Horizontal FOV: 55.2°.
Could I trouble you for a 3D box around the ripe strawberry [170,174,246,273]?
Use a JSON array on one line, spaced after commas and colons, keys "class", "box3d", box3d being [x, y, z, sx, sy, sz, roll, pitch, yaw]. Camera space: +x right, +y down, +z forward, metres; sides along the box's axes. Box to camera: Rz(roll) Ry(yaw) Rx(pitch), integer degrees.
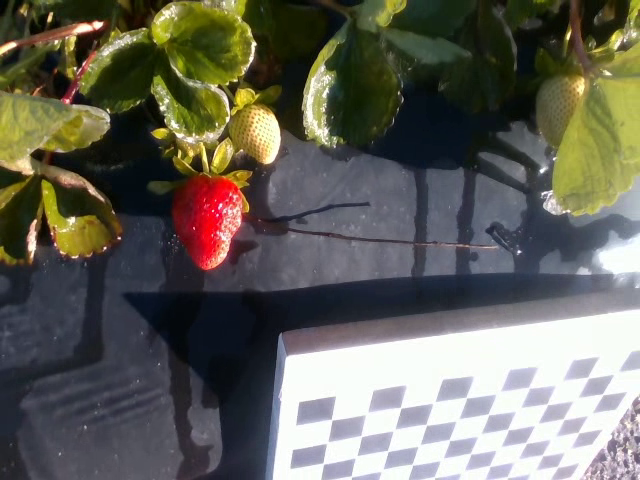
[{"class": "ripe strawberry", "box3d": [-0.043, -0.003, 0.242, 0.039, 0.039, 0.040, -5, -24, -1]}]
